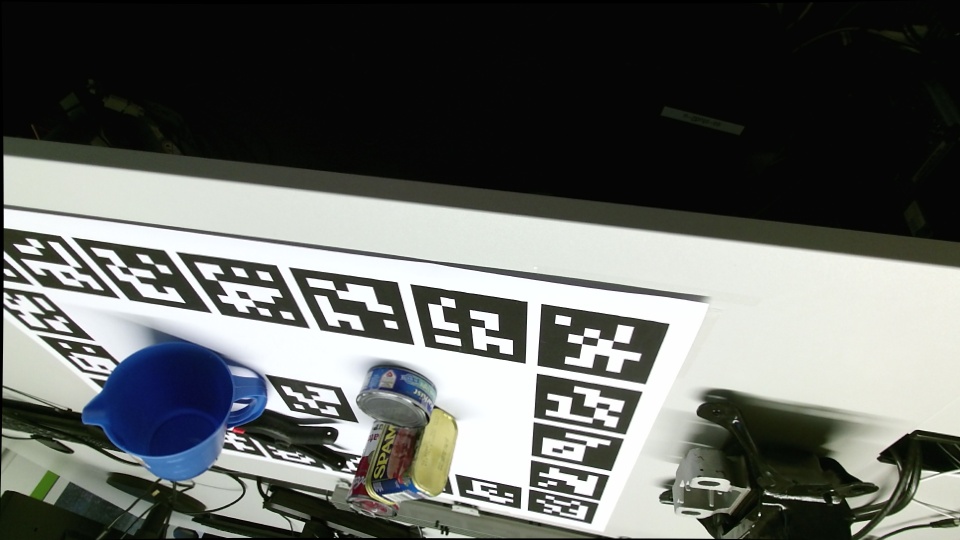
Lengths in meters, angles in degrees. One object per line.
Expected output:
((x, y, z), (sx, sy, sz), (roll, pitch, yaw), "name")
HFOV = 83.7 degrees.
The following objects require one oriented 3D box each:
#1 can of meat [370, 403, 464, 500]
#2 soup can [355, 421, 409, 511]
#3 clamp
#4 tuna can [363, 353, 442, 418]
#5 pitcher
((-0.073, 0.215, 0.642), (0.084, 0.101, 0.058), (-24, 125, 32), "can of meat")
((-0.115, 0.253, 0.704), (0.068, 0.101, 0.068), (7, 136, 7), "soup can")
((-0.258, 0.243, 0.800), (0.165, 0.036, 0.122), (11, 143, 11), "clamp")
((-0.087, 0.132, 0.610), (0.086, 0.033, 0.086), (9, 137, 8), "tuna can")
((-0.386, 0.198, 0.698), (0.190, 0.132, 0.243), (4, 150, -20), "pitcher")
